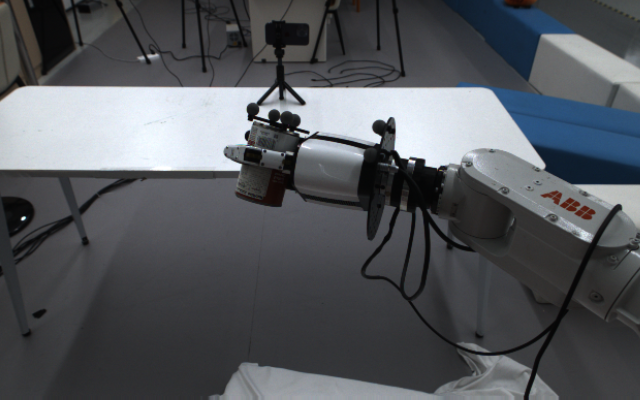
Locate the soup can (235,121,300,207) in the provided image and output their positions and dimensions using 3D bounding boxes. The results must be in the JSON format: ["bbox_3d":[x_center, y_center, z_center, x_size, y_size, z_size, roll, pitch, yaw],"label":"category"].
[{"bbox_3d":[-0.071,-0.048,0.654,0.067,0.101,0.067,15,7,-2],"label":"soup can"}]
